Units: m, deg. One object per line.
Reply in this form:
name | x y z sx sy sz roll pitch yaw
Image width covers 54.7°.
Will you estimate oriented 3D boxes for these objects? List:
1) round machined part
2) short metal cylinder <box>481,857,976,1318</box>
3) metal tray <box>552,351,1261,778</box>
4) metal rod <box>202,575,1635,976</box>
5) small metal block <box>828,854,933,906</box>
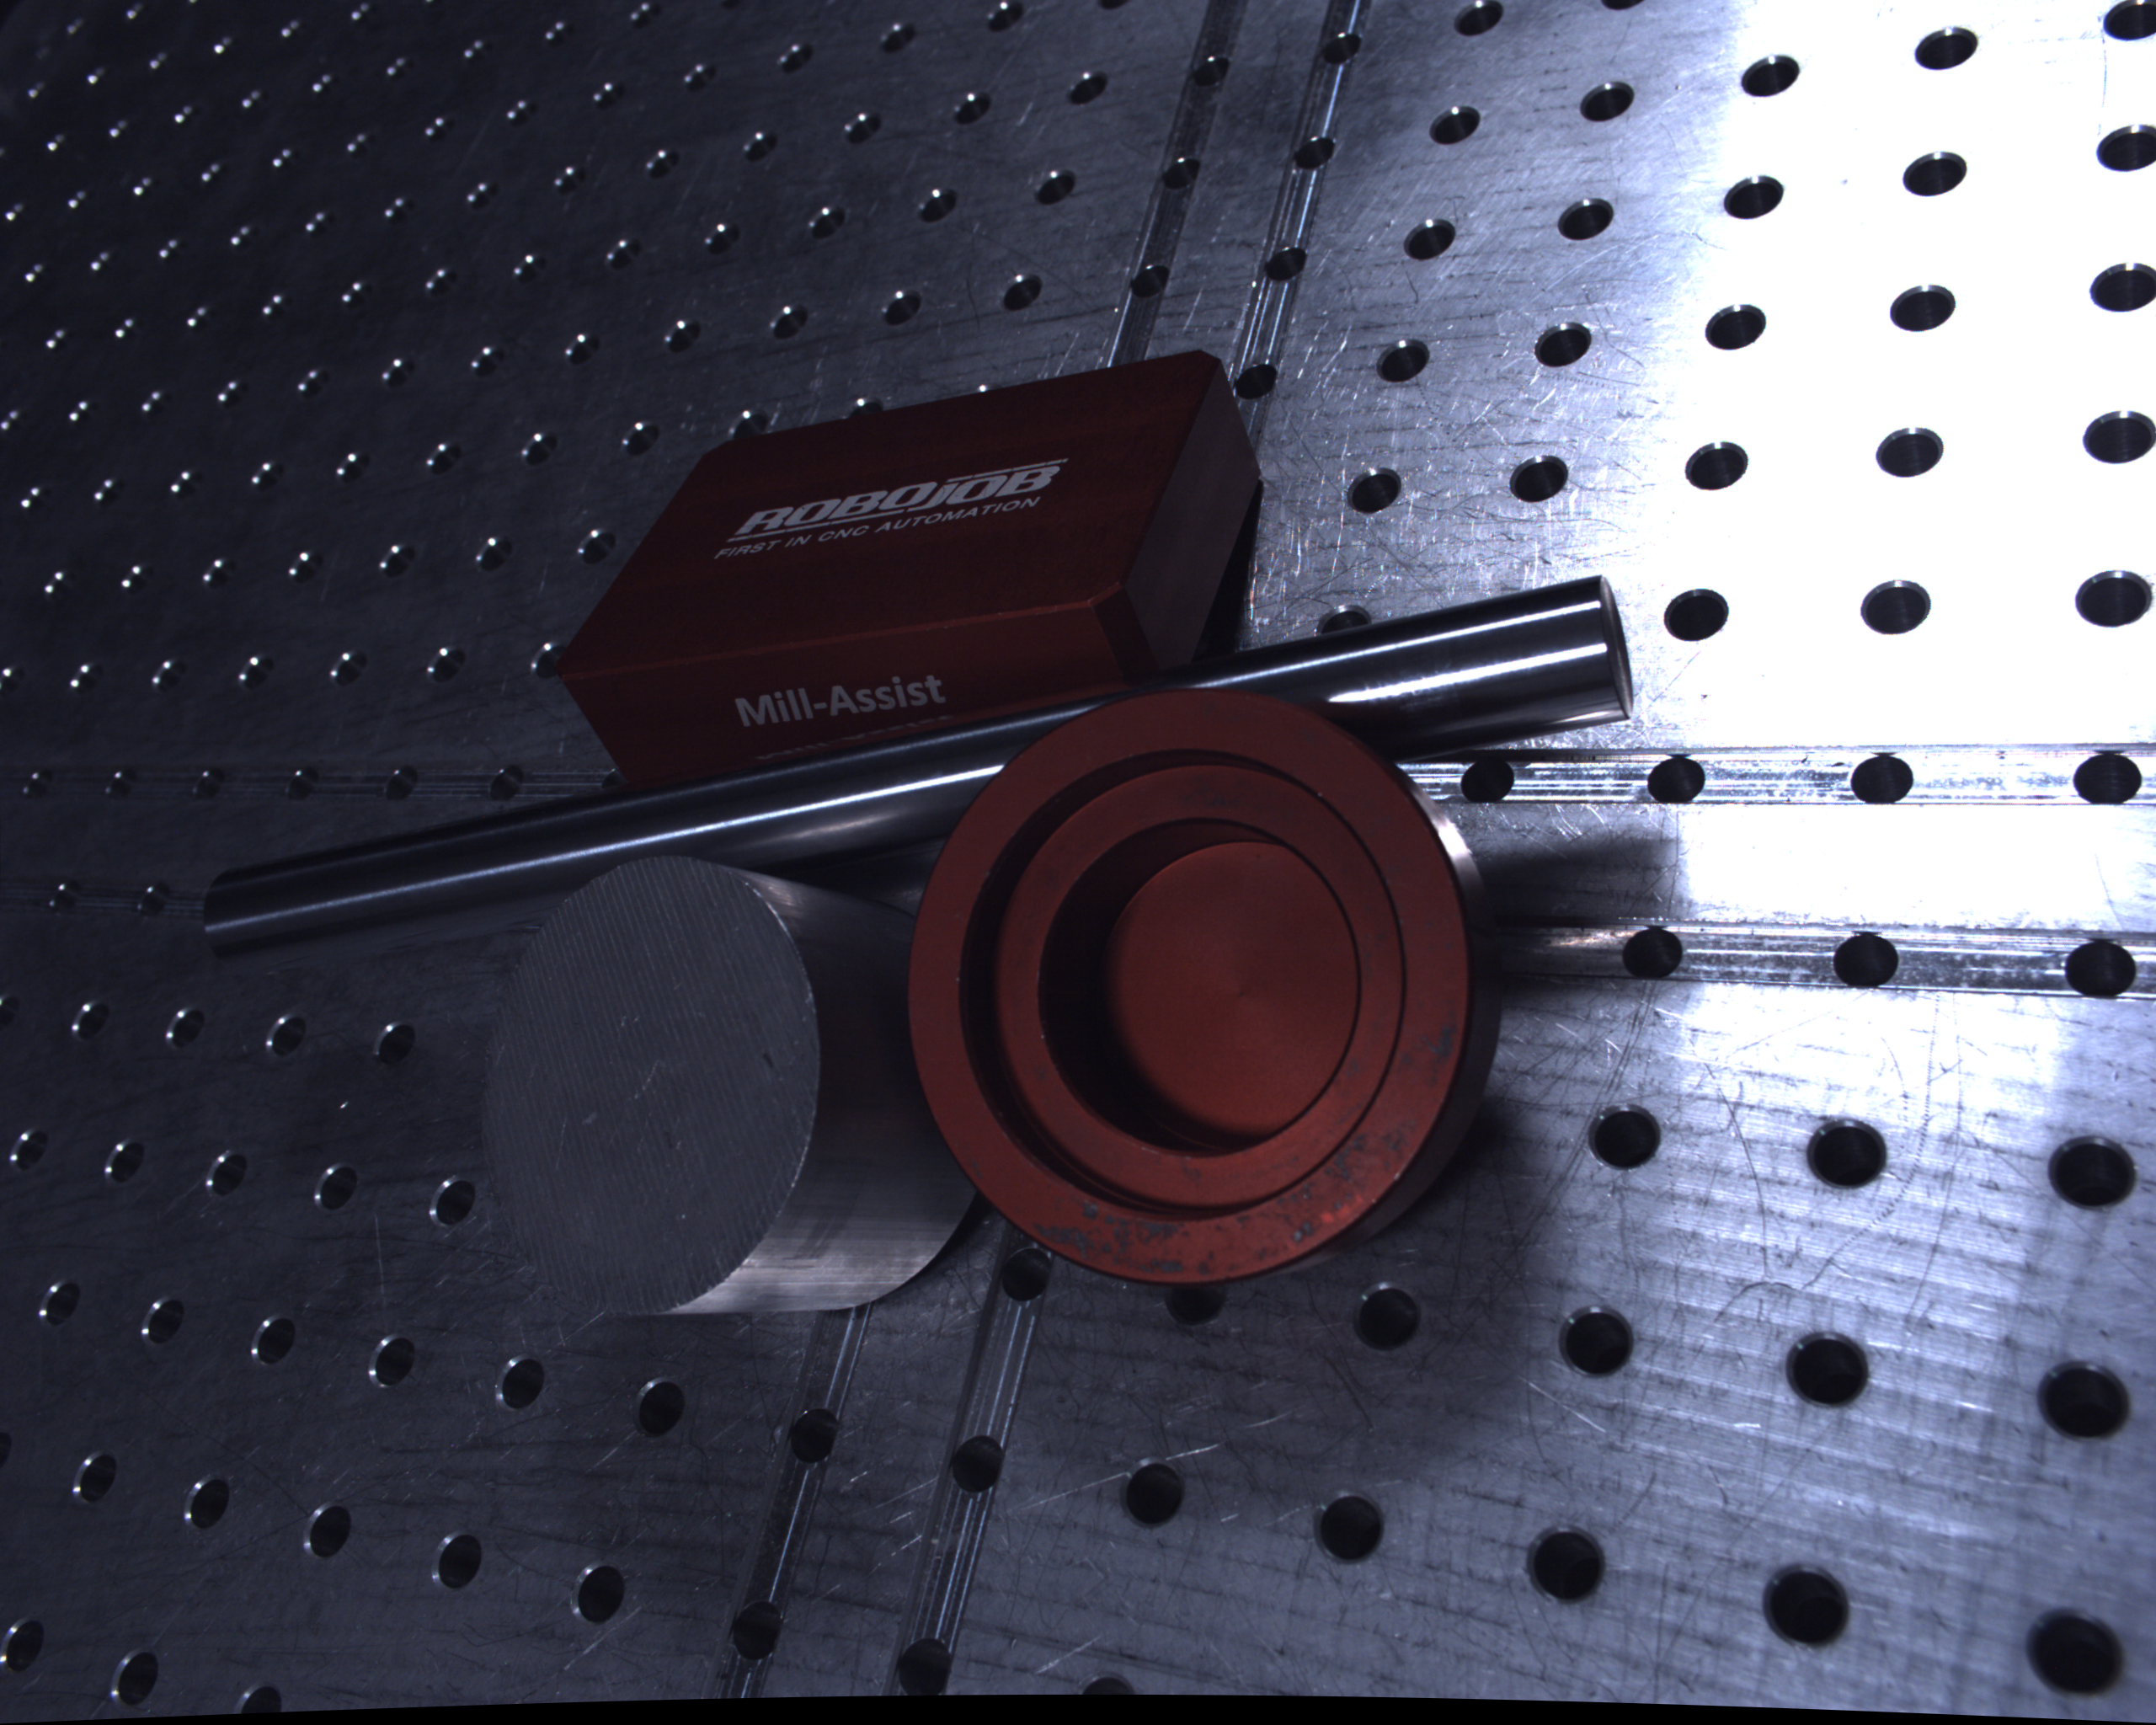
round machined part | 0.024 0.021 0.356 0.098 0.042 0.097 -3 82 24
short metal cylinder | -0.062 0.042 0.382 0.080 0.050 0.080 -7 76 32
metal tray | -0.035 -0.063 0.442 0.130 0.030 0.090 -4 41 25
metal rod | -0.047 -0.011 0.405 0.301 0.025 0.025 -10 58 22
small metal block | -0.037 0.012 0.430 0.050 0.025 0.050 20 72 35
